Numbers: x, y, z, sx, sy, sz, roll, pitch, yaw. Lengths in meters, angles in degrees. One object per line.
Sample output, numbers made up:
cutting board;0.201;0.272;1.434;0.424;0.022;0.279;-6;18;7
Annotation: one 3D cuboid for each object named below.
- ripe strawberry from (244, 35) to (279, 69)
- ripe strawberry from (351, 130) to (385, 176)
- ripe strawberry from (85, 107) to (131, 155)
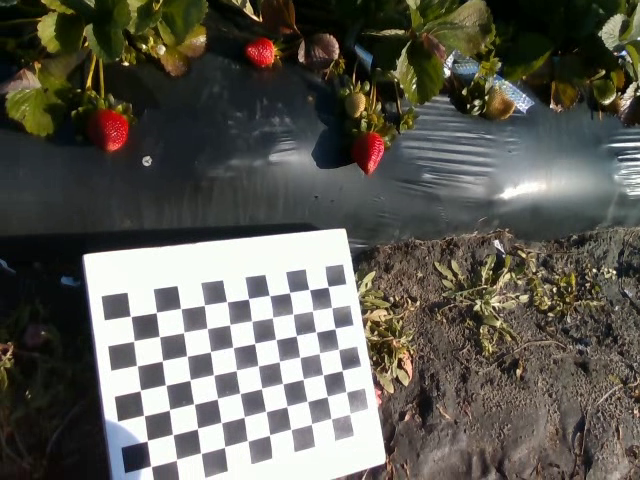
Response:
ripe strawberry;-0.068;-0.210;0.640;0.046;0.035;0.035;-5;-9;-35
ripe strawberry;0.051;-0.095;0.642;0.042;0.059;0.042;19;-29;-25
ripe strawberry;-0.202;-0.102;0.560;0.045;0.055;0.042;4;-43;-29
